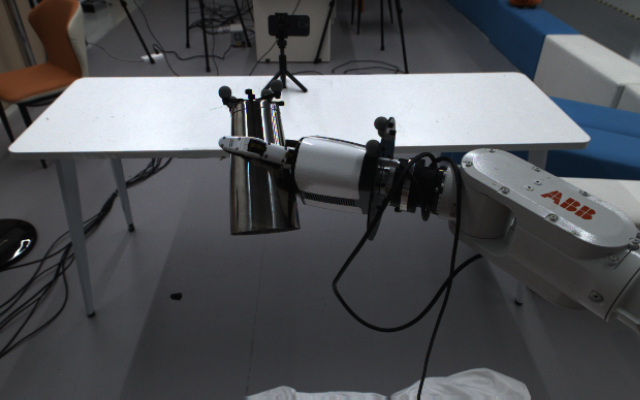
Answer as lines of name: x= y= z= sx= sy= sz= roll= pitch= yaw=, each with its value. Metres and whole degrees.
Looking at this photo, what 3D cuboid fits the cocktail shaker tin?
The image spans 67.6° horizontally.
cocktail shaker tin: x=-0.080 y=-0.042 z=0.646 sx=0.093 sy=0.170 sz=0.093 roll=-6 pitch=-7 yaw=-1
